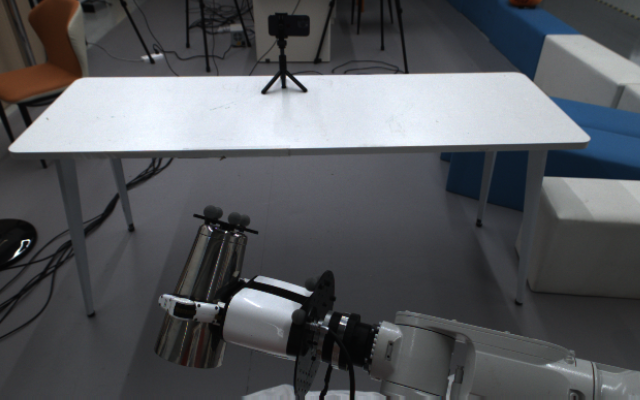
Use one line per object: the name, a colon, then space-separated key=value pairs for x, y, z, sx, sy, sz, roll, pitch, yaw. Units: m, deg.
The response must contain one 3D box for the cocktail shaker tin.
cocktail shaker tin: x=-0.149 y=0.123 z=0.641 sx=0.093 sy=0.170 sz=0.093 roll=15 pitch=-4 yaw=1
